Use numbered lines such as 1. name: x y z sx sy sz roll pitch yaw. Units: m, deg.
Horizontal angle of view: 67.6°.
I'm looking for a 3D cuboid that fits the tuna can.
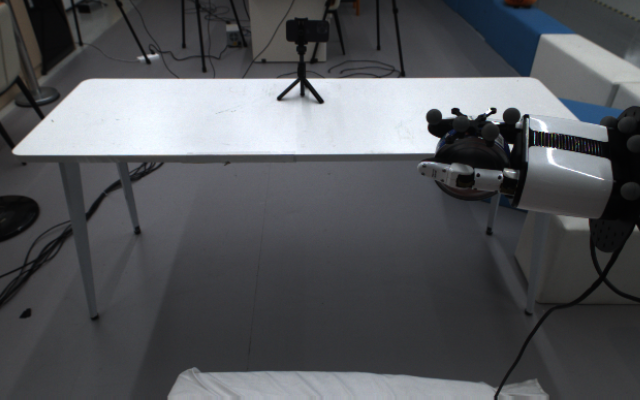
1. tuna can: 0.176 -0.045 0.558 0.085 0.085 0.034 12 39 14
